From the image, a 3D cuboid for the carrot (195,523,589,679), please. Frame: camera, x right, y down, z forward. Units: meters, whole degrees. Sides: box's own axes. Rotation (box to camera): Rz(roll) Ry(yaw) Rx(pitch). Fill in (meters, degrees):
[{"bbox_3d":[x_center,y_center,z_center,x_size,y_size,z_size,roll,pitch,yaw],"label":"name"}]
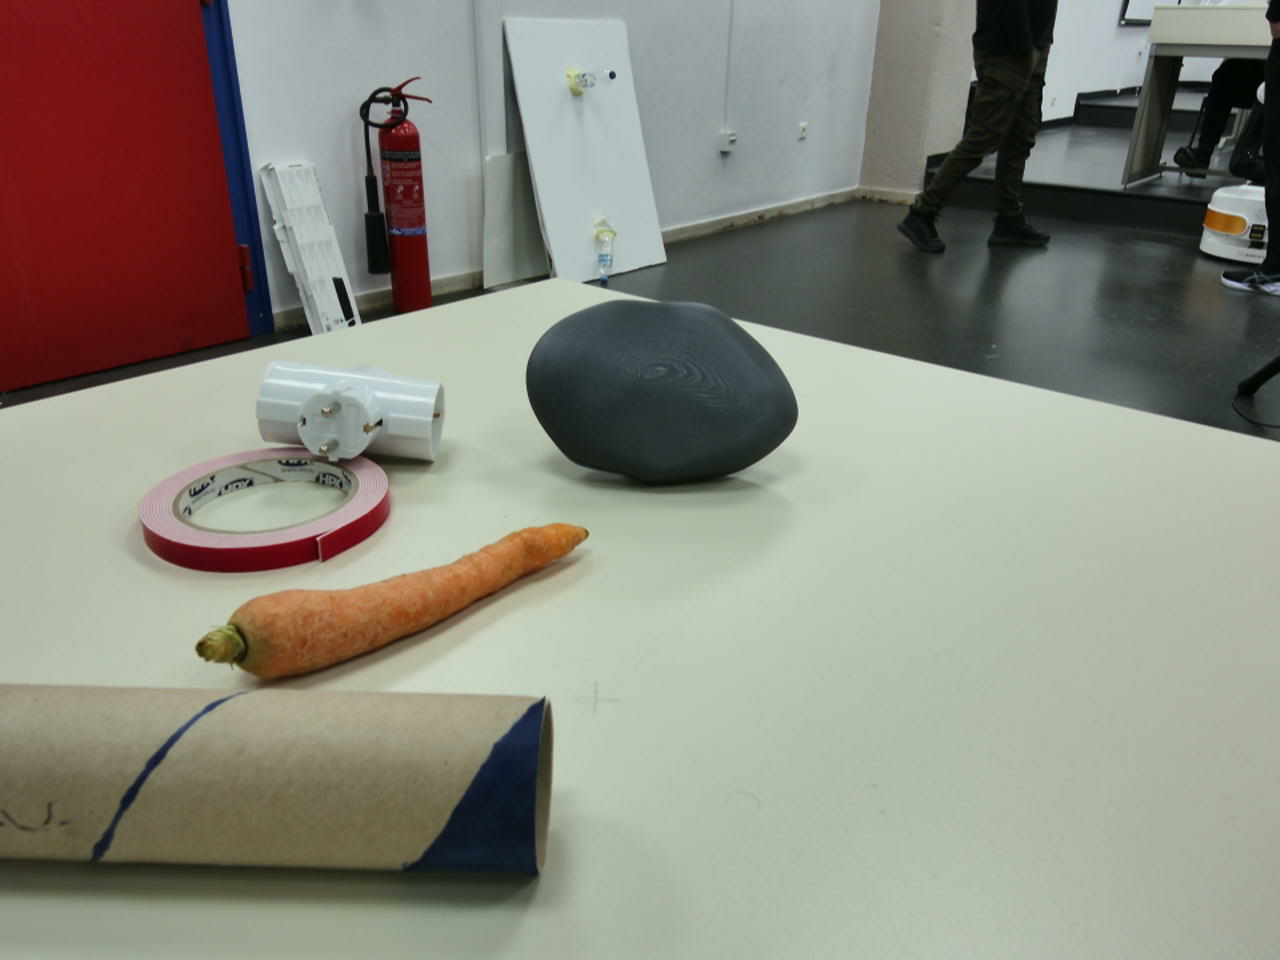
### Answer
[{"bbox_3d":[-0.084,0.041,0.387,0.173,0.032,0.030,-19,29,-38],"label":"carrot"}]
